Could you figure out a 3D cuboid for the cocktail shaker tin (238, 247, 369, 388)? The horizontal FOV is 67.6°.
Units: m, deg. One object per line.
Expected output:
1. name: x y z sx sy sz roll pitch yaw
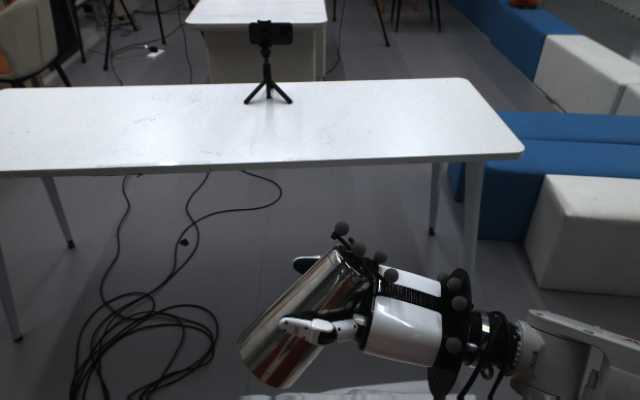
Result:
1. cocktail shaker tin: -0.013 0.133 0.596 0.093 0.170 0.093 41 13 -11
